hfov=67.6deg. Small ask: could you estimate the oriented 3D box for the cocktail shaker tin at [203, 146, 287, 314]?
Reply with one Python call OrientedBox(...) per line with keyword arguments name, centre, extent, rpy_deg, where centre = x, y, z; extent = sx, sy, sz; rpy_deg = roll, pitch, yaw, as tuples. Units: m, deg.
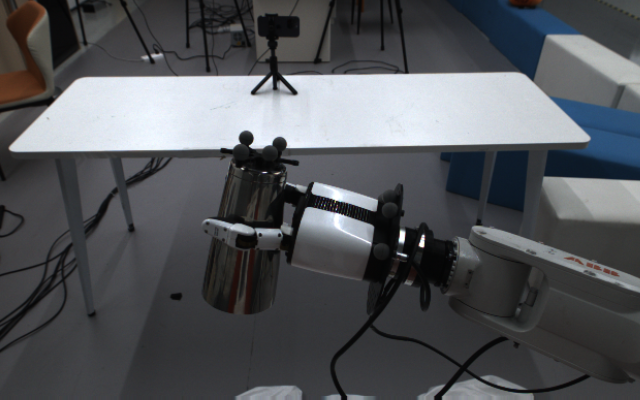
OrientedBox(name="cocktail shaker tin", centre=(-0.084, 0.038, 0.576), extent=(0.093, 0.170, 0.093), rpy_deg=(11, 19, -4))
